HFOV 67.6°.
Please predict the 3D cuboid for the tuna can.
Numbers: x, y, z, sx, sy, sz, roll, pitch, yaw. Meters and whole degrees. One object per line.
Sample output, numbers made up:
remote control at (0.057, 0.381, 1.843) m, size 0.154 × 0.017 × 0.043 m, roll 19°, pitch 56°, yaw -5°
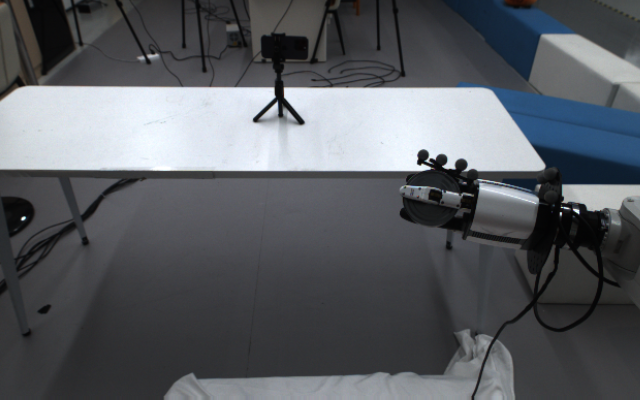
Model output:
tuna can at (0.171, -0.004, 0.737) m, size 0.085 × 0.085 × 0.034 m, roll 14°, pitch -7°, yaw 16°
